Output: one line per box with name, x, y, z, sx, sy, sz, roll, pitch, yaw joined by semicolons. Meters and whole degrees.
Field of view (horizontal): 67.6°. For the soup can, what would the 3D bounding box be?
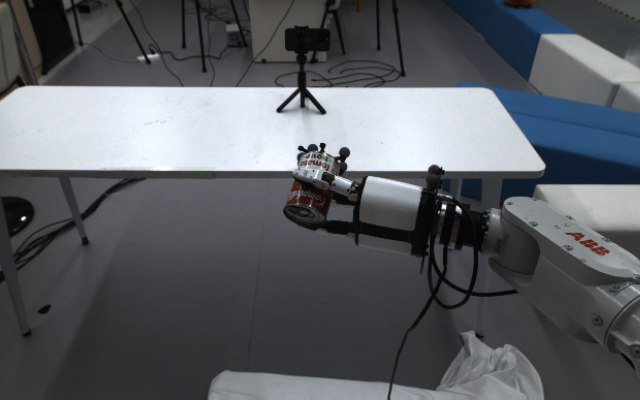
soup can;-0.011;-0.018;0.754;0.067;0.067;0.101;9;60;10
